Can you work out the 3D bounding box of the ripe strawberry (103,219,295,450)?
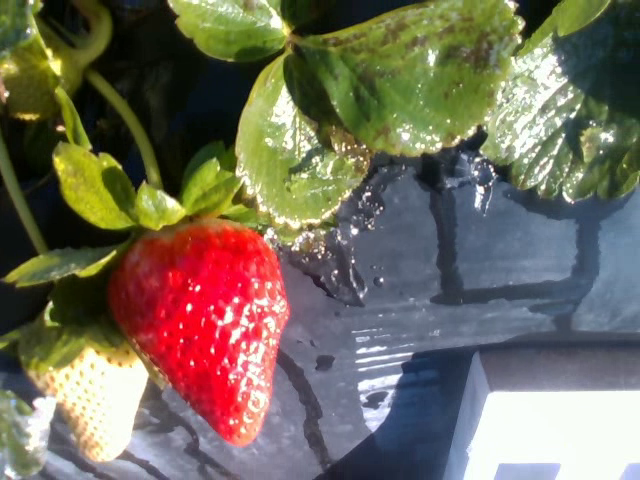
[{"bbox_3d":[-0.025,0.026,0.144,0.042,0.061,0.046,-11,-3,8],"label":"ripe strawberry"}]
